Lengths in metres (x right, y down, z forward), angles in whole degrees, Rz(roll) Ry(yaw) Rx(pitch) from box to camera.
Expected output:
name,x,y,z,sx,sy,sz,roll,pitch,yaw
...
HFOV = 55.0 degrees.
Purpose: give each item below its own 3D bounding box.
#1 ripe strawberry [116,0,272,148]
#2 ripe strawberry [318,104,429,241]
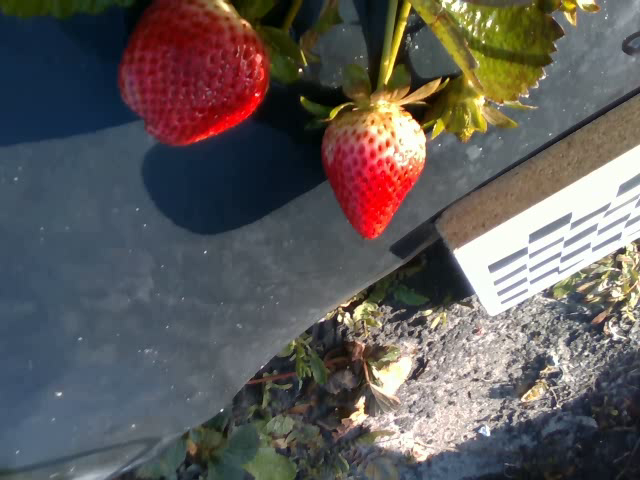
name,x,y,z,sx,sy,sz,roll,pitch,yaw
ripe strawberry,-0.035,-0.051,0.183,0.039,0.054,0.048,37,-17,19
ripe strawberry,0.020,-0.022,0.215,0.043,0.053,0.038,-12,22,-31
